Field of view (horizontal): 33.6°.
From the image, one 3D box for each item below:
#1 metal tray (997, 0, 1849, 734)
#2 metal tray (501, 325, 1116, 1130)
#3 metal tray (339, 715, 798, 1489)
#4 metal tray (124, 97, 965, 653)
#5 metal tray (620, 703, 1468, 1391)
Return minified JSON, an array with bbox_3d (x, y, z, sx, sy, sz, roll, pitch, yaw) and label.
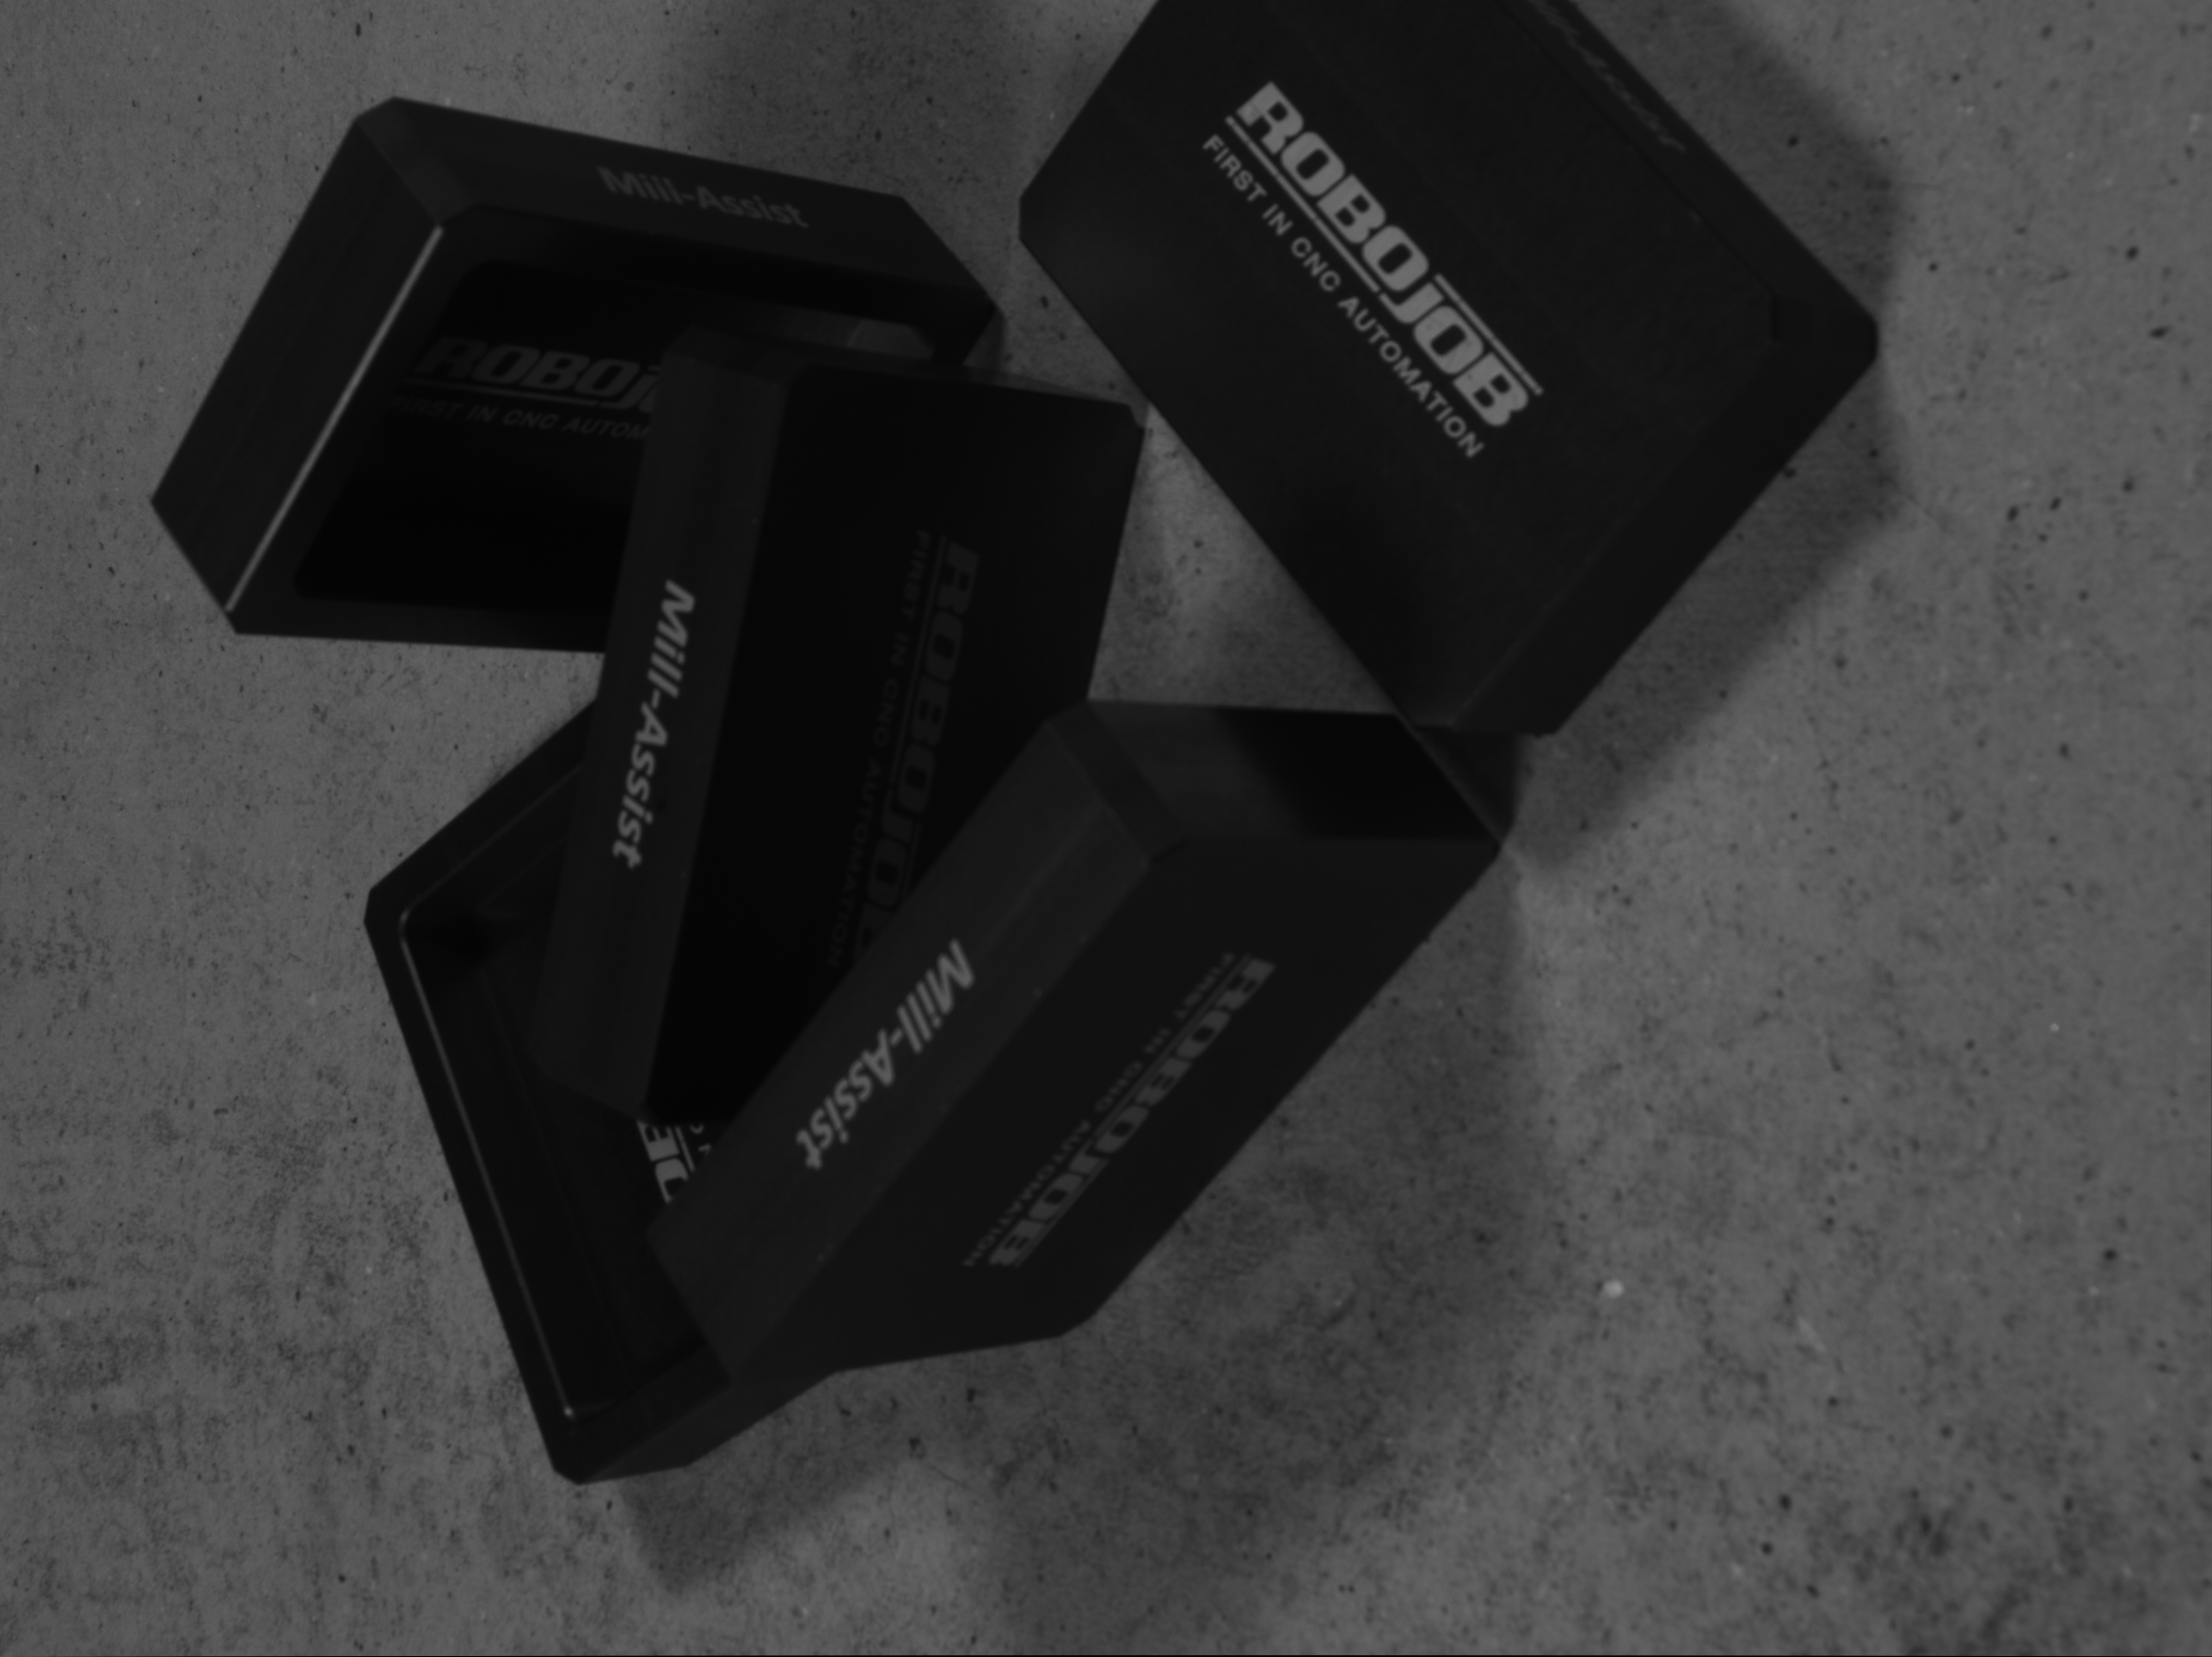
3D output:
[{"bbox_3d":[0.047,-0.090,0.595,0.090,0.030,0.130,-52,60,27],"label":"metal tray"},{"bbox_3d":[-0.050,-0.016,0.635,0.030,0.090,0.130,21,103,38],"label":"metal tray"},{"bbox_3d":[-0.094,0.050,0.710,0.090,0.030,0.130,-35,68,34],"label":"metal tray"},{"bbox_3d":[-0.096,-0.075,0.648,0.030,0.130,0.090,50,119,28],"label":"metal tray"},{"bbox_3d":[-0.010,0.036,0.602,0.130,0.090,0.030,-51,60,27],"label":"metal tray"}]
